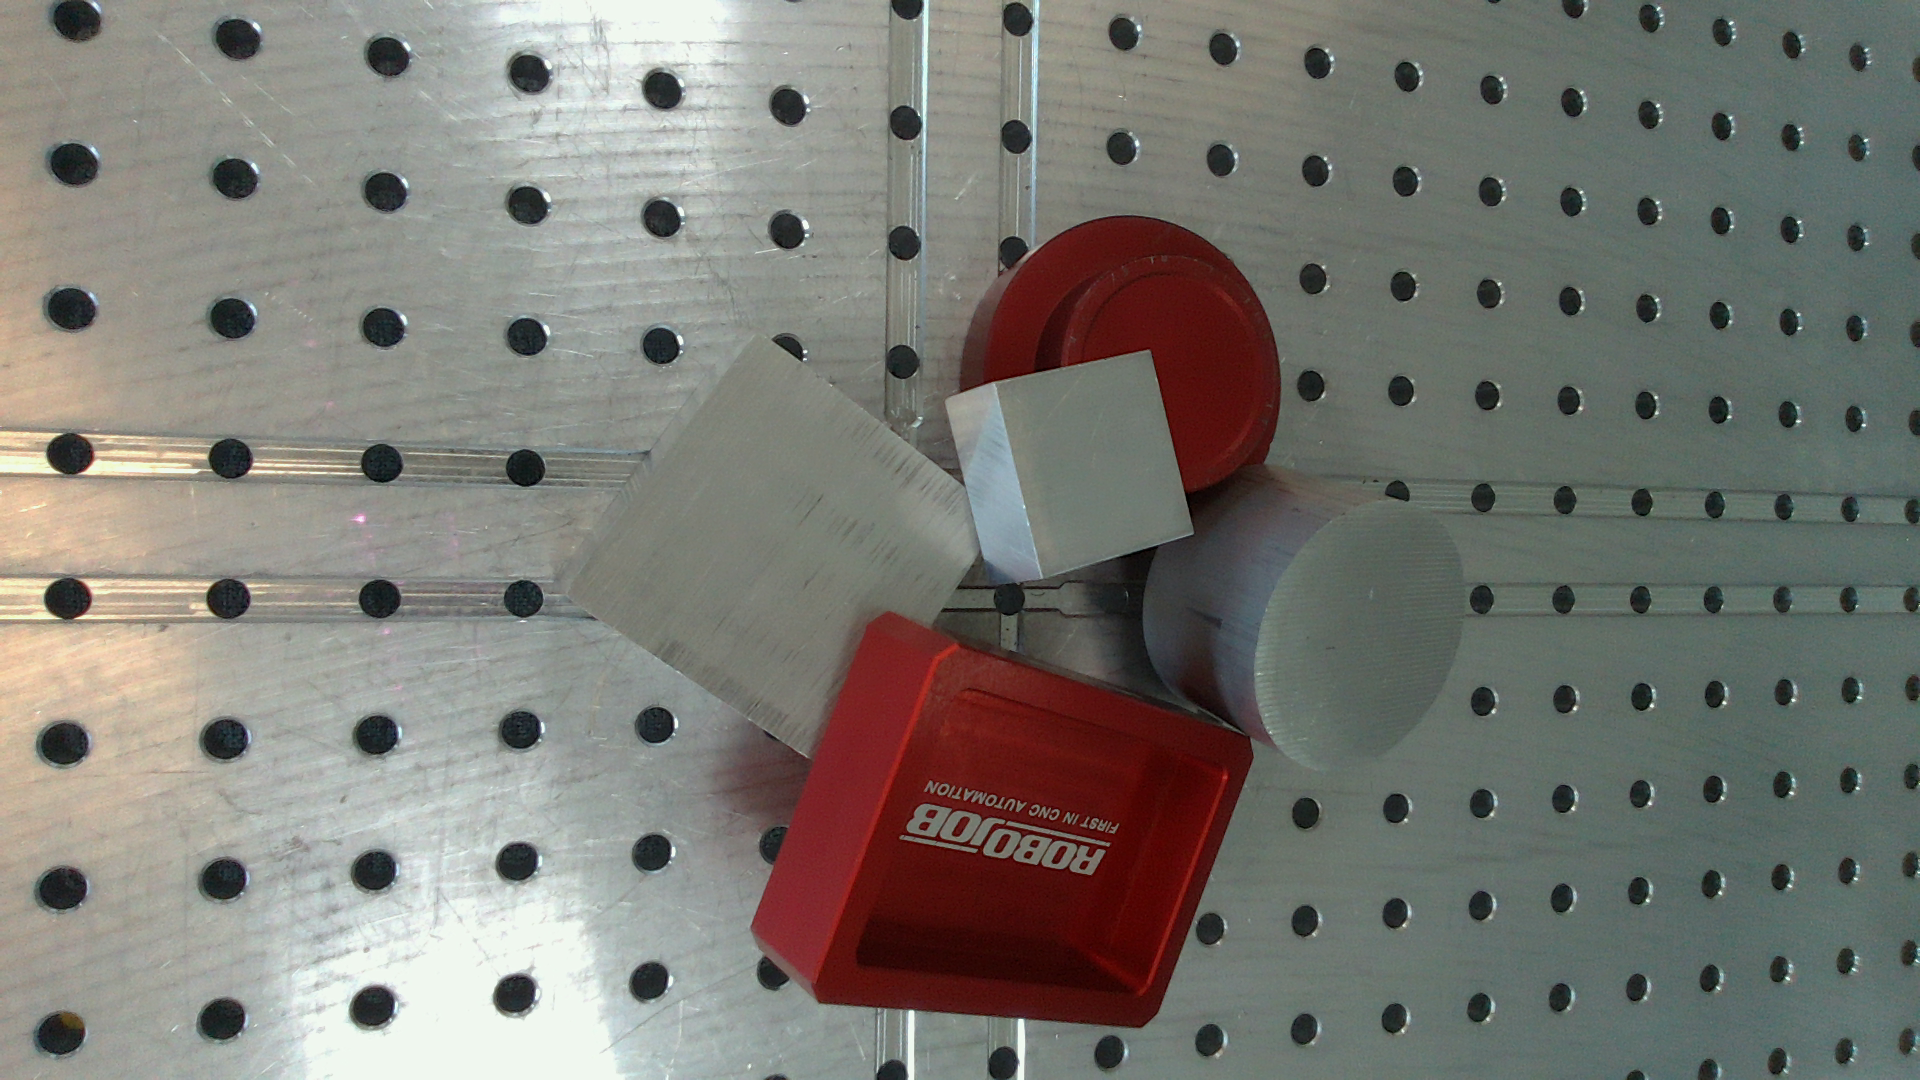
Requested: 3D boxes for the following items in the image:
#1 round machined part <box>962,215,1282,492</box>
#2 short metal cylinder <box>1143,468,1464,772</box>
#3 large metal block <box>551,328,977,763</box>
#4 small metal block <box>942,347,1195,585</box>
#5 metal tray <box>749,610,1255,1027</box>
[{"bbox_3d":[0.053,-0.047,0.406,0.098,0.042,0.098,0,90,-20],"label":"round machined part"},{"bbox_3d":[0.102,0.022,0.408,0.080,0.050,0.080,-9,108,-29],"label":"short metal cylinder"},{"bbox_3d":[-0.050,0.004,0.364,0.080,0.050,0.080,37,78,-16],"label":"large metal block"},{"bbox_3d":[0.029,-0.019,0.357,0.050,0.025,0.050,-15,92,-30],"label":"small metal block"},{"bbox_3d":[0.017,0.079,0.369,0.130,0.030,0.090,21,90,-41],"label":"metal tray"}]
